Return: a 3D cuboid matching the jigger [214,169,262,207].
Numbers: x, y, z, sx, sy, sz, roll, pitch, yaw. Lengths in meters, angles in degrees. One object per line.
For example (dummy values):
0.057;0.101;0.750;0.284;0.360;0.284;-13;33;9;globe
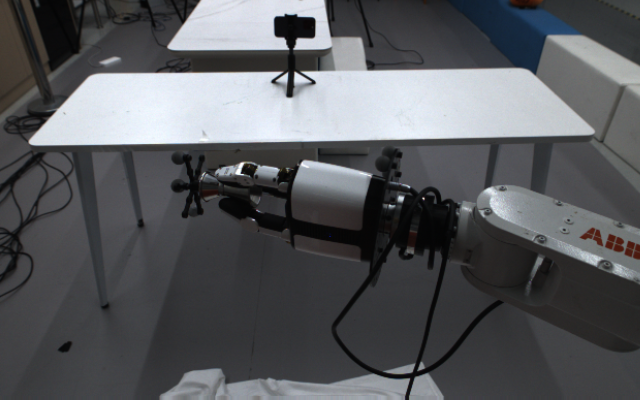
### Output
-0.104;-0.017;0.607;0.071;0.043;0.043;4;34;13;jigger
